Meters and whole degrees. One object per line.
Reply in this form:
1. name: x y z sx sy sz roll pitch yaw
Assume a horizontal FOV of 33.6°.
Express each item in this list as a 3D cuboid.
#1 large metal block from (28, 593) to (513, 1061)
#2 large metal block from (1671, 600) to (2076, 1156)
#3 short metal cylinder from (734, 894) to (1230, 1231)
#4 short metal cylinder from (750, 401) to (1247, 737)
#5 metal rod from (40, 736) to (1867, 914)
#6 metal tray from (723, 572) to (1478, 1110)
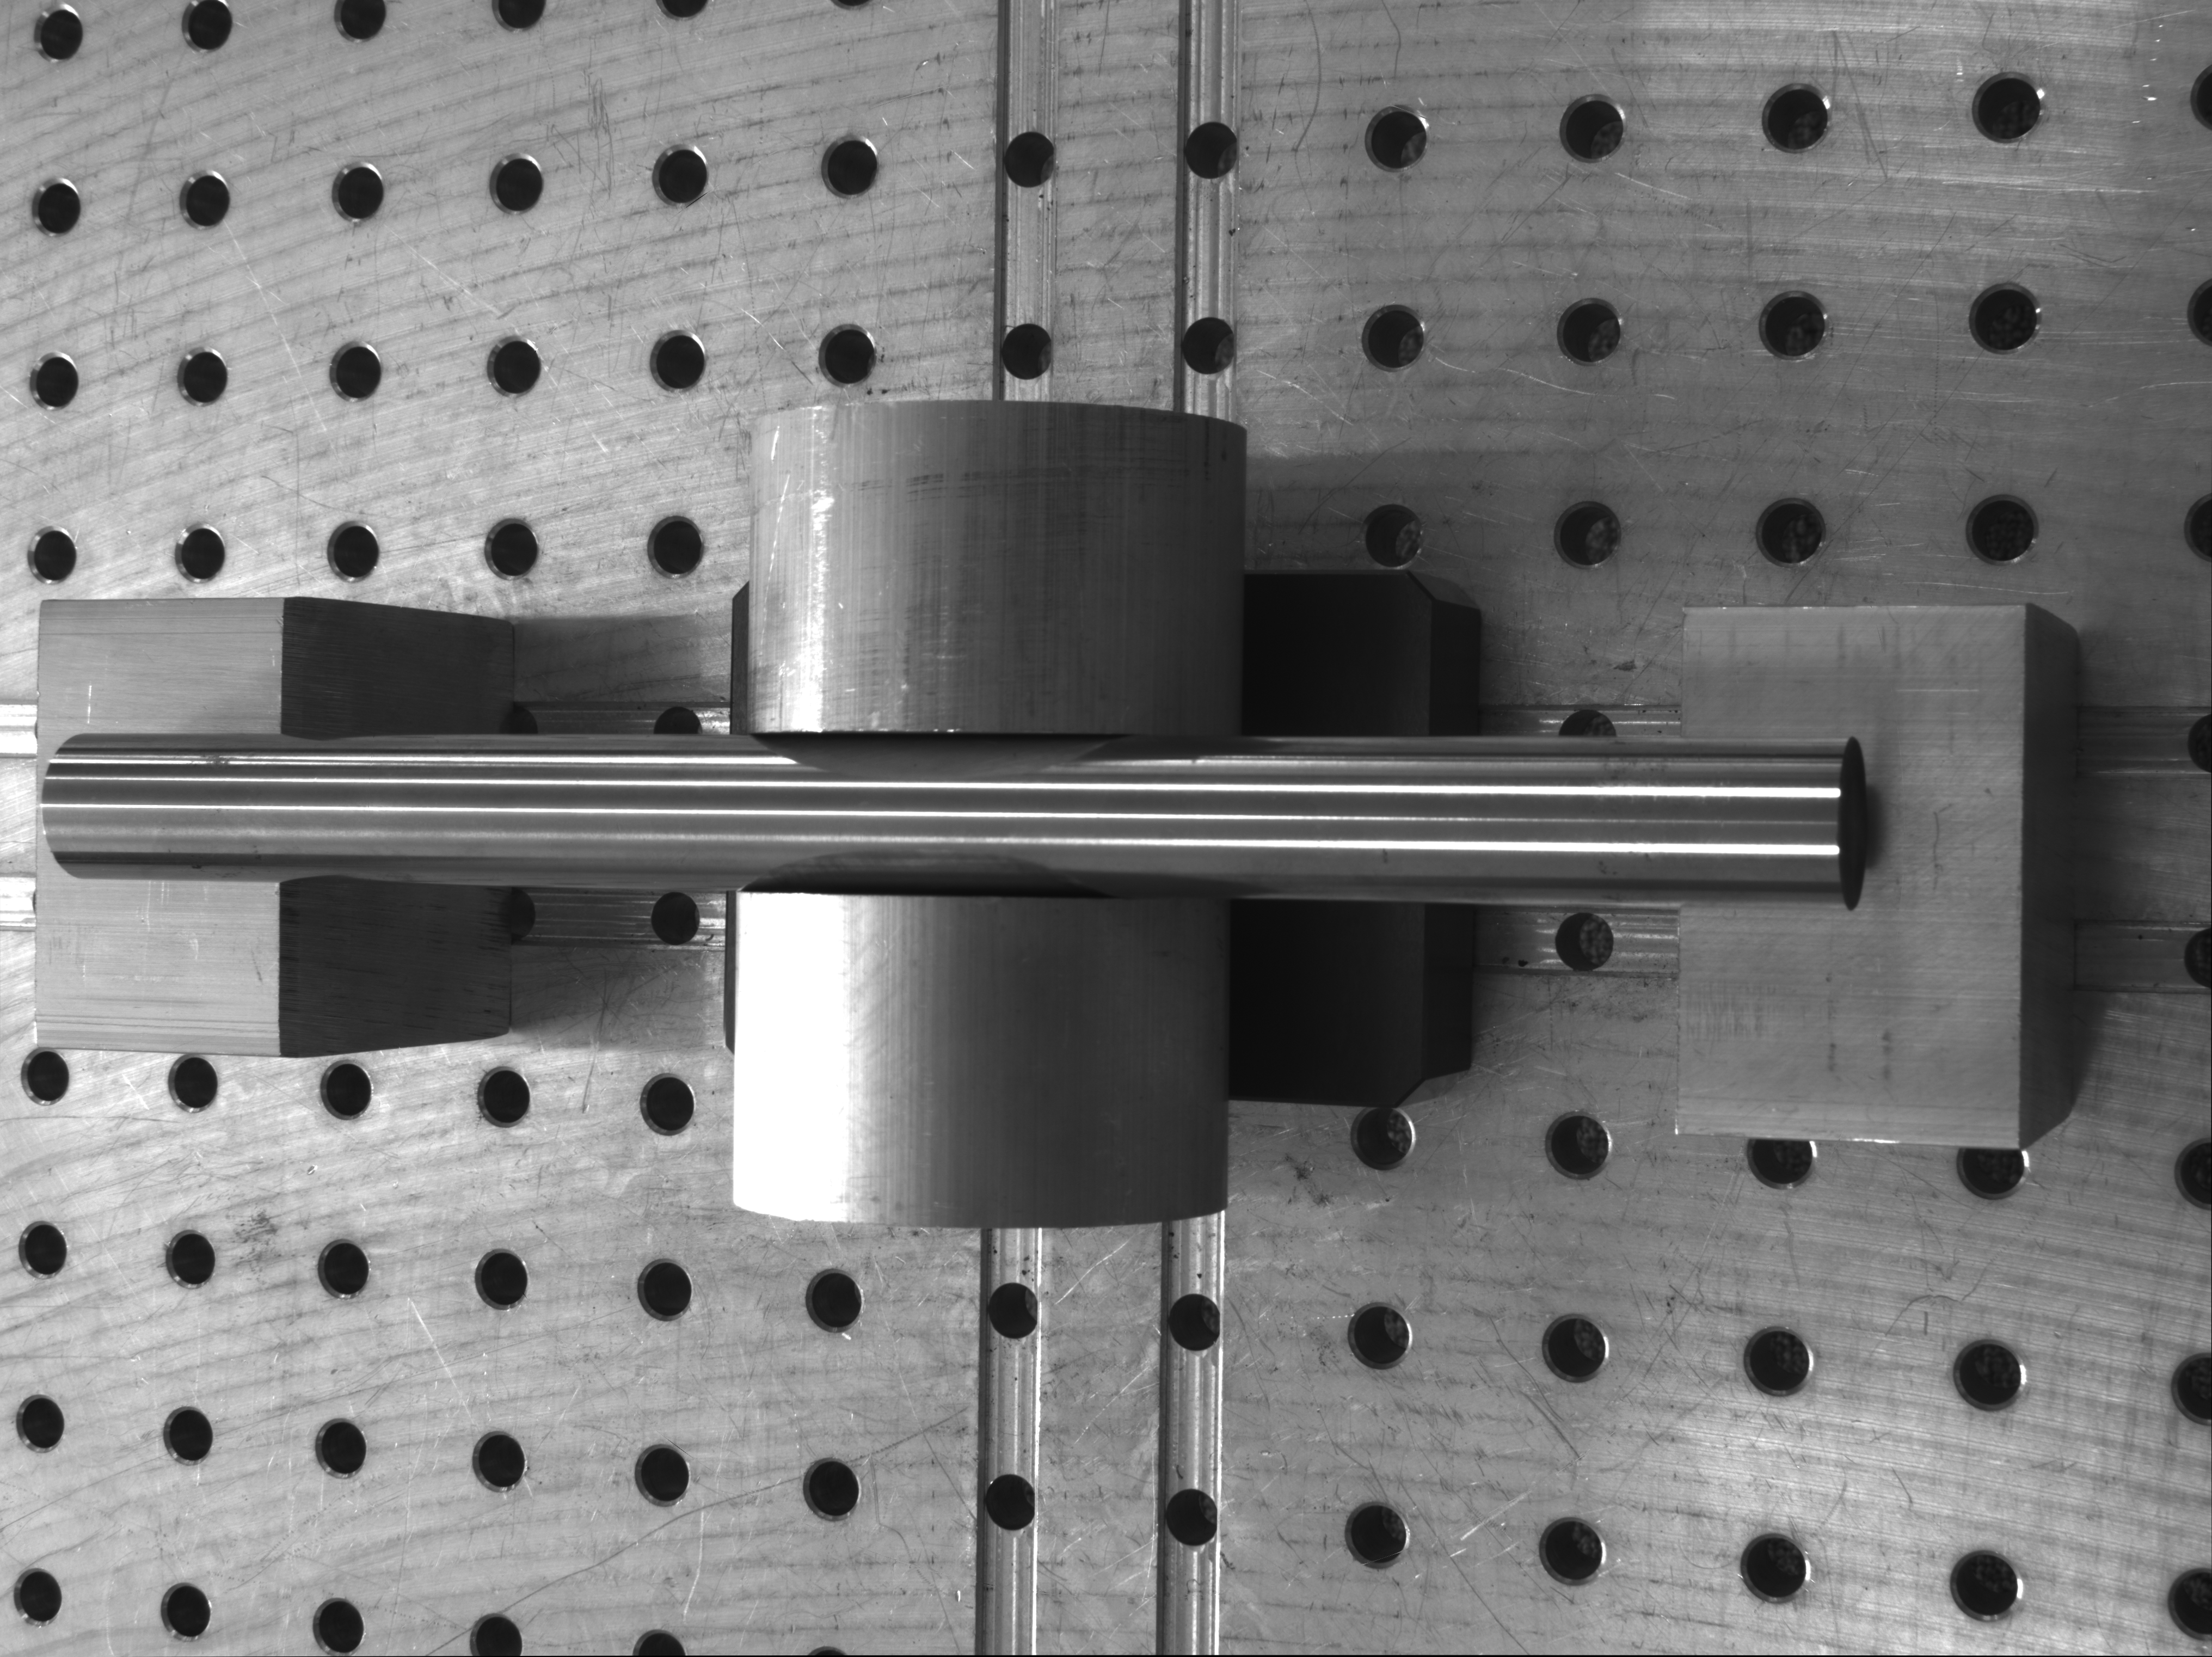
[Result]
1. large metal block: -0.151 0.000 0.673 0.050 0.080 0.080 1 90 20
2. large metal block: 0.122 0.007 0.574 0.050 0.080 0.080 1 90 20
3. short metal cylinder: -0.020 0.036 0.595 0.080 0.080 0.050 1 90 20
4. short metal cylinder: -0.018 -0.040 0.594 0.080 0.080 0.050 1 90 20
5. metal rod: -0.034 -0.002 0.575 0.299 0.025 0.025 1 90 20
6. metal tray: -0.002 0.001 0.647 0.130 0.030 0.090 1 90 20
